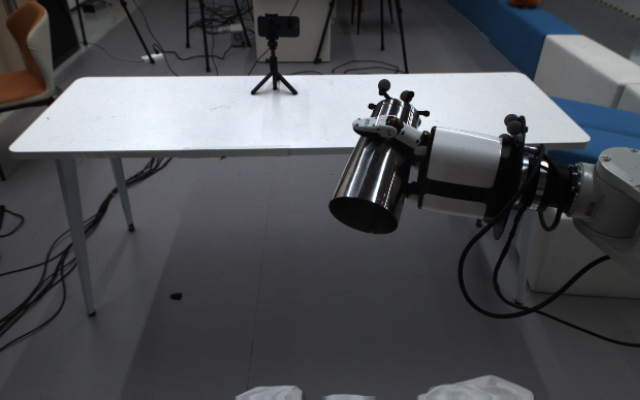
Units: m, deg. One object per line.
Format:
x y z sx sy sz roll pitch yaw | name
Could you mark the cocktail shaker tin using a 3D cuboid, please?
0.082 -0.051 0.645 0.093 0.093 0.170 13 63 16 | cocktail shaker tin
